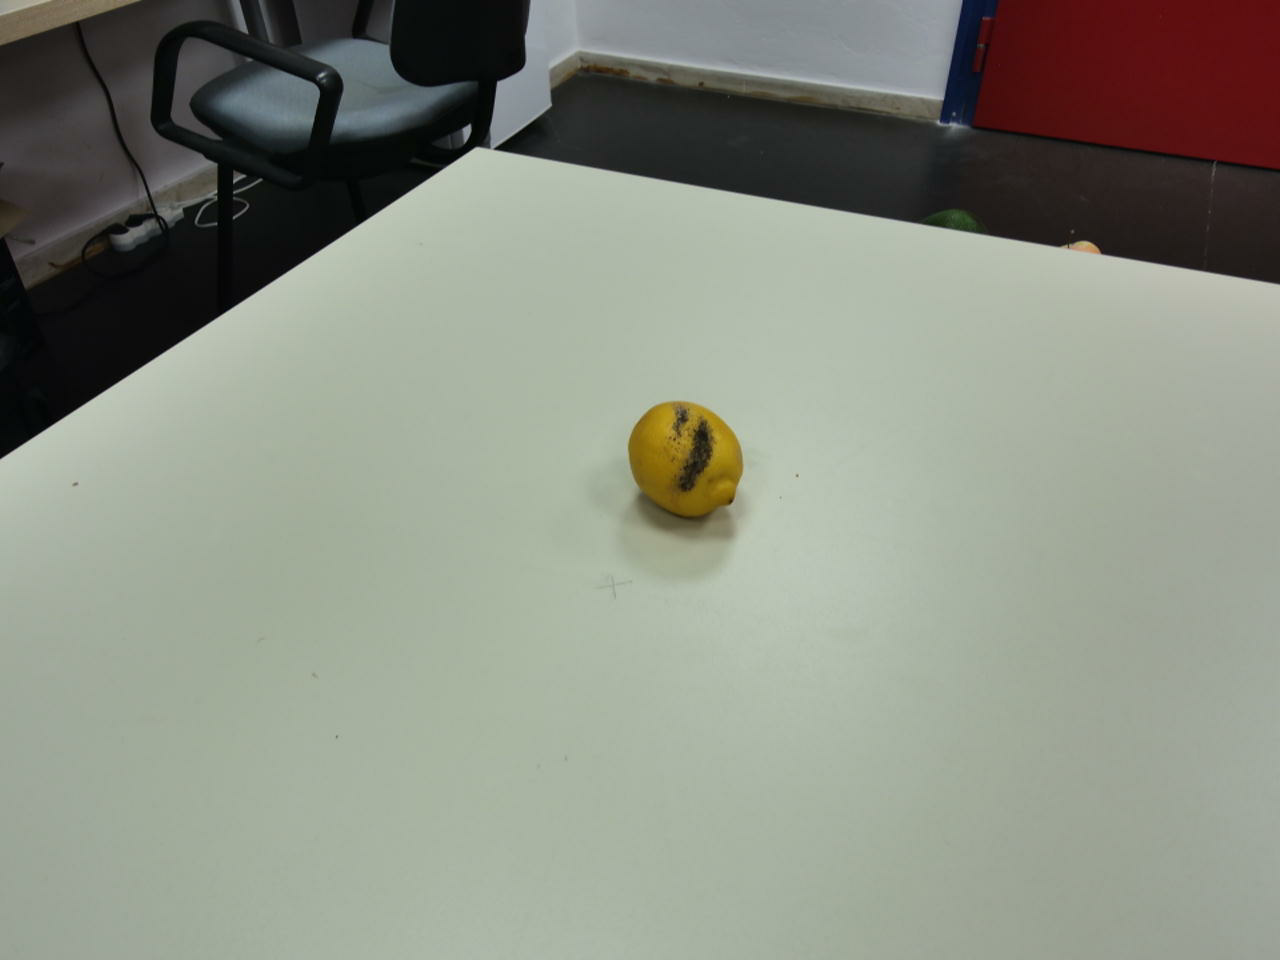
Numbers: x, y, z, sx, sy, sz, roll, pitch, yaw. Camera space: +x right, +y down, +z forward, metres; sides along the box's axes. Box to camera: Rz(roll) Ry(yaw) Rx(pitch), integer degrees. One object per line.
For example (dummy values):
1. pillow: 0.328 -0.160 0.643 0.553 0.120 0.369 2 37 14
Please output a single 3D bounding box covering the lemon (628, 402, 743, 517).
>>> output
1. lemon: 0.024 -0.011 0.520 0.061 0.056 0.058 12 39 14
